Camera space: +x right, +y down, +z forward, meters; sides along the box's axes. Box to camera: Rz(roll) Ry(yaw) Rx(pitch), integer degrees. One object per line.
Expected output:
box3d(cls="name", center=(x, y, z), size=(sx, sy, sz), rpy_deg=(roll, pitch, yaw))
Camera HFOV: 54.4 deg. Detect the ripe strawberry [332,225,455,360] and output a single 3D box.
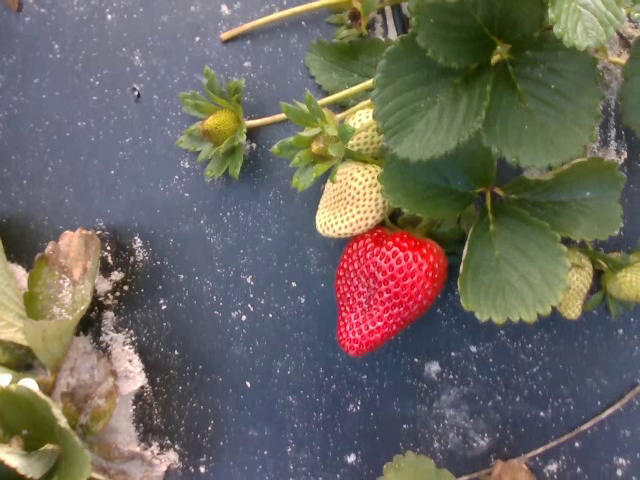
box3d(cls="ripe strawberry", center=(0.021, 0.024, 0.256), size=(0.051, 0.055, 0.048), rpy_deg=(19, -28, 42))
